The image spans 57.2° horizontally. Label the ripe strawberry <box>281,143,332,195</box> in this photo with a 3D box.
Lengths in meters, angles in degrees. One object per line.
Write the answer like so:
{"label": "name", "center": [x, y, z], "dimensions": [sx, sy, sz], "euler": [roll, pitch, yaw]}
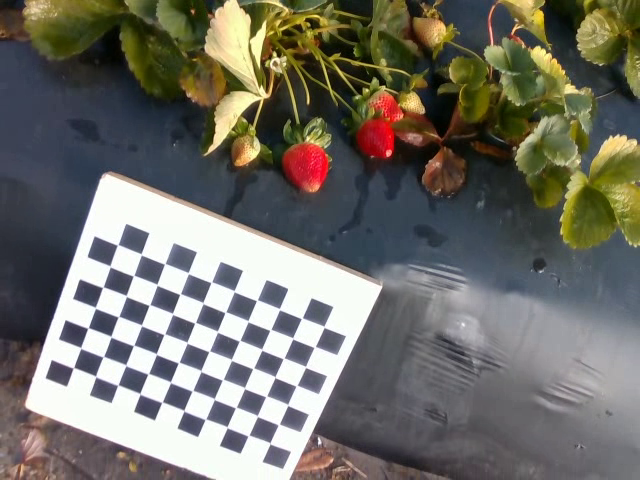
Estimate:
{"label": "ripe strawberry", "center": [-0.014, -0.072, 0.578], "dimensions": [0.050, 0.065, 0.050], "euler": [-16, -44, 8]}

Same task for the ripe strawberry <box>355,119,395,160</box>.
{"label": "ripe strawberry", "center": [0.060, -0.103, 0.609], "dimensions": [0.045, 0.055, 0.042], "euler": [-39, -43, 11]}
